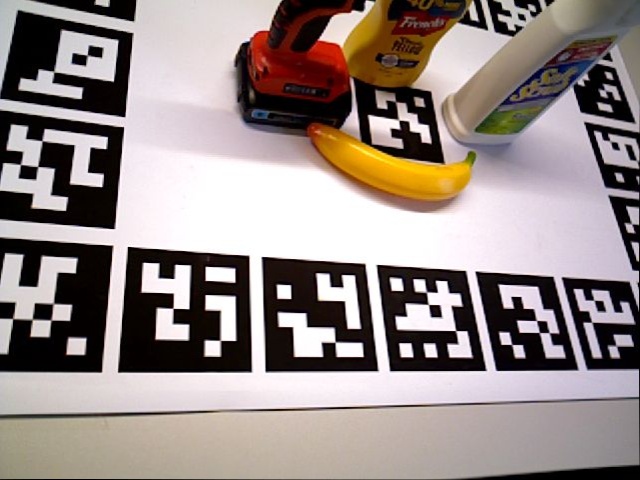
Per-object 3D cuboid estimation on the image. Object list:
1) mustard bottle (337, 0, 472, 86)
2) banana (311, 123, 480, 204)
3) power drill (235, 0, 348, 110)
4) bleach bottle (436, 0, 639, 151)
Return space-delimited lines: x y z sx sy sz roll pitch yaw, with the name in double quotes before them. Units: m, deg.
"mustard bottle" 0.096 -0.238 0.539 0.095 0.196 0.058 6 64 -21
"banana" 0.083 -0.076 0.551 0.195 0.039 0.073 8 69 -17
"power drill" 0.013 -0.199 0.466 0.182 0.192 0.057 3 59 -24
"bleach bottle" 0.228 -0.182 0.543 0.101 0.256 0.067 -3 69 -24
